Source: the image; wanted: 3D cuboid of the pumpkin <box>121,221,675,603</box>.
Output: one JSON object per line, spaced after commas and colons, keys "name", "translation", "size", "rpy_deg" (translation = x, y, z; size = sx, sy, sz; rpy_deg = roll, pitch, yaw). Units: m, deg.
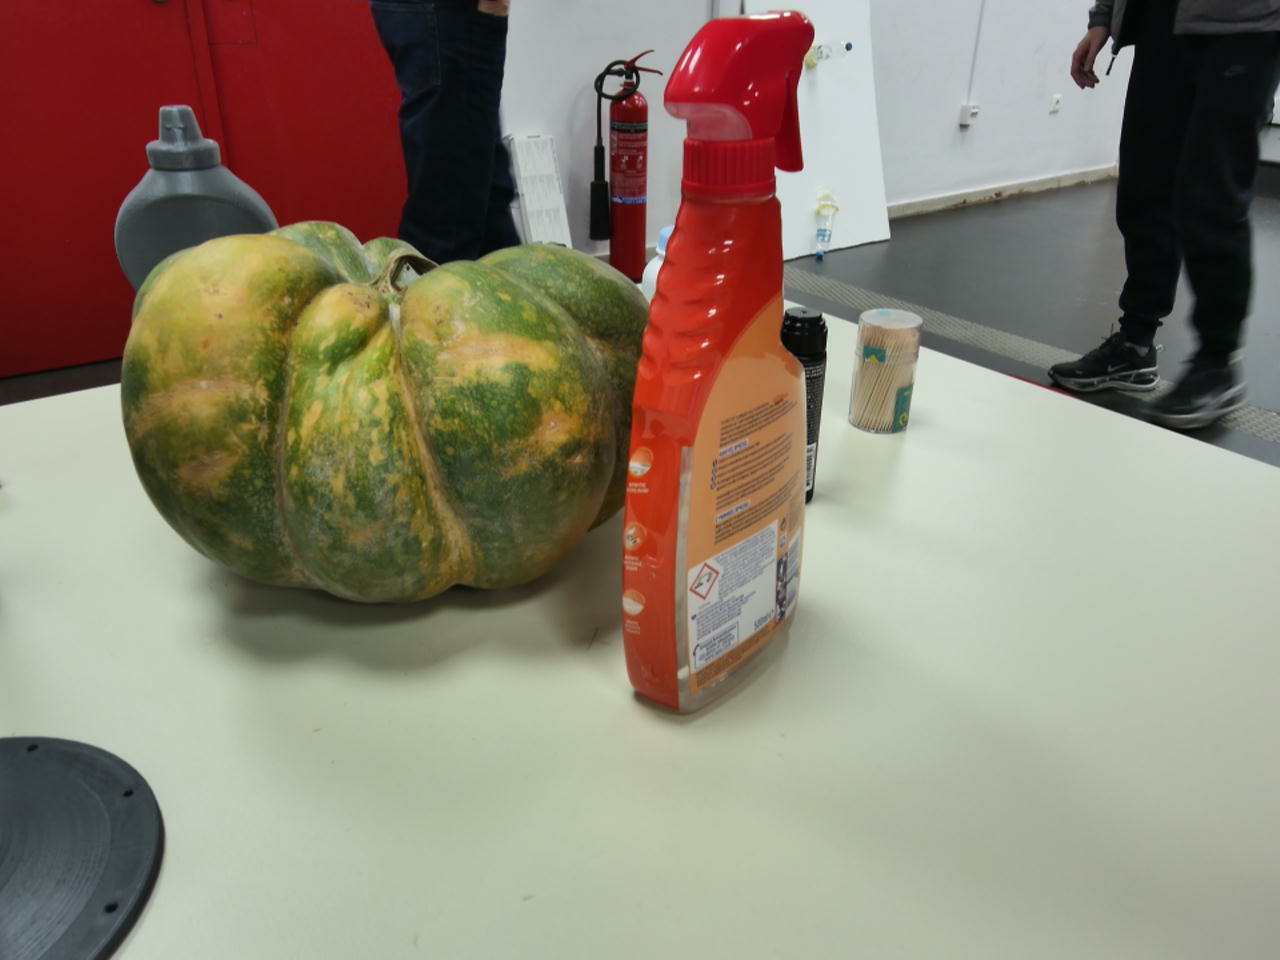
{"name": "pumpkin", "translation": [-0.119, -0.044, 0.491], "size": [0.270, 0.173, 0.237], "rpy_deg": [0, 25, 0]}
